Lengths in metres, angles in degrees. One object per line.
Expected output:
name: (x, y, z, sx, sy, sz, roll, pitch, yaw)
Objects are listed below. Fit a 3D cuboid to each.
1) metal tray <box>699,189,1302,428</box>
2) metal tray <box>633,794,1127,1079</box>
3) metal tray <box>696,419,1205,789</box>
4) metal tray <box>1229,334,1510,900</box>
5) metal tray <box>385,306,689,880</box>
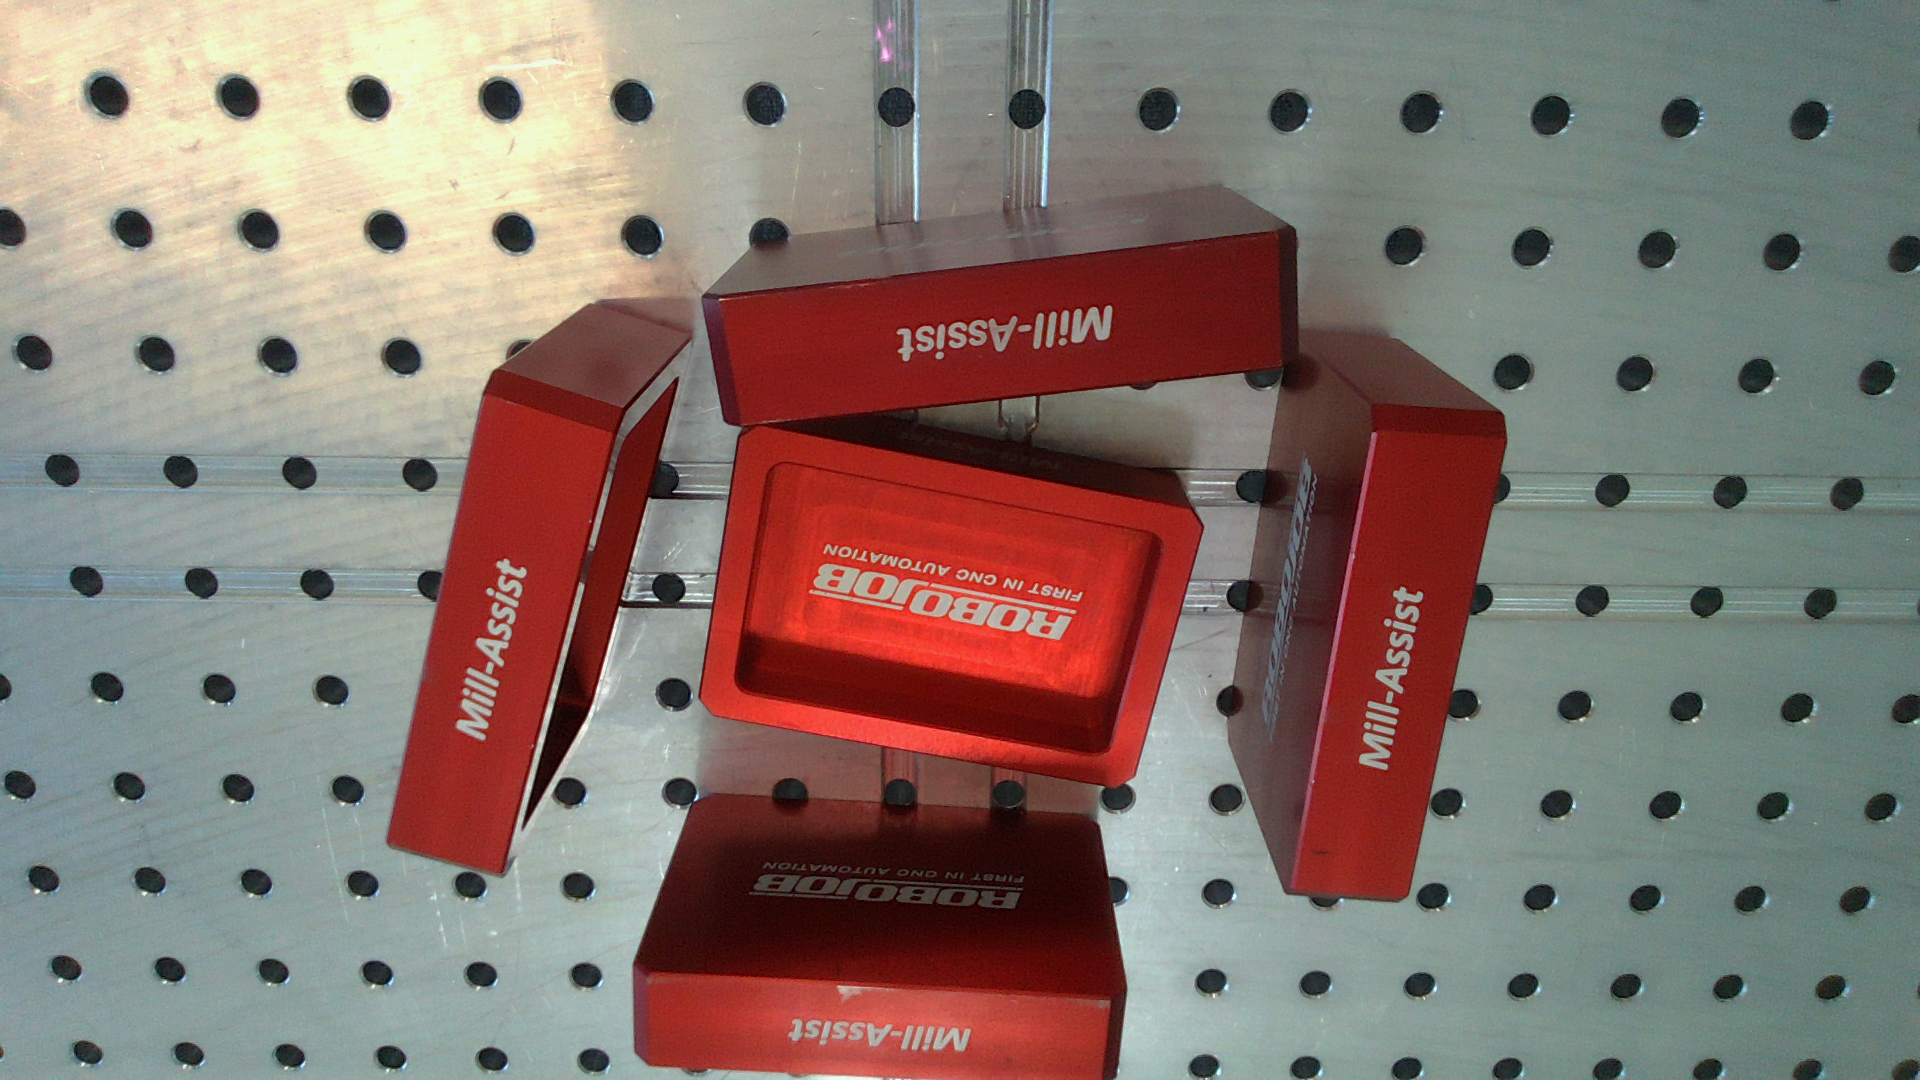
metal tray: (0.010, -0.060, 0.339, 0.130, 0.090, 0.030, -6, 110, 2)
metal tray: (-0.021, 0.114, 0.404, 0.130, 0.090, 0.030, 4, 110, -1)
metal tray: (-0.004, 0.016, 0.399, 0.130, 0.030, 0.090, 10, 110, -4)
metal tray: (0.103, 0.018, 0.369, 0.030, 0.090, 0.130, 4, 110, -2)
metal tray: (-0.110, 0.011, 0.365, 0.030, 0.090, 0.130, 17, 109, -6)
